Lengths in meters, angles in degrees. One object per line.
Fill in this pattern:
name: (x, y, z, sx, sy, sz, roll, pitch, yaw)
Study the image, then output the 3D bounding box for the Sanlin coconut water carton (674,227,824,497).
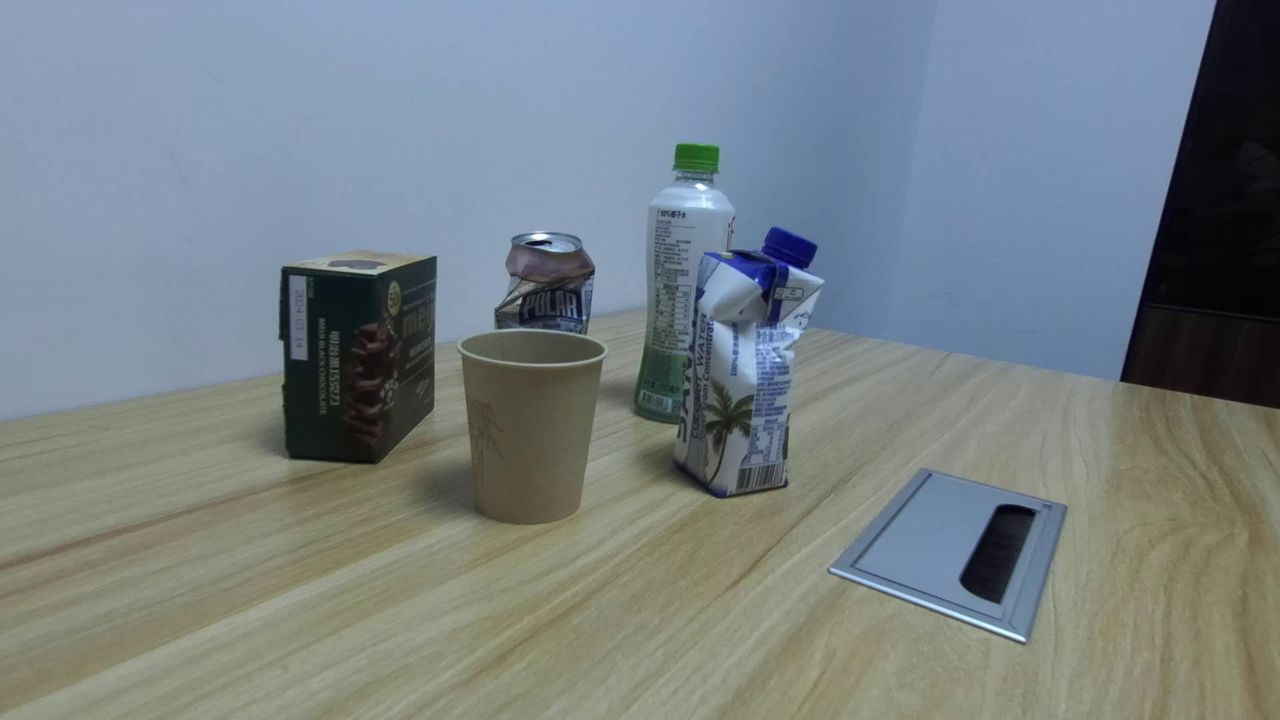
Sanlin coconut water carton: (0.060, -0.001, 0.395, 0.070, 0.143, 0.060, -2, 16, -28)

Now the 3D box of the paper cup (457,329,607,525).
paper cup: (-0.055, 0.033, 0.358, 0.075, 0.082, 0.075, 4, 14, -1)

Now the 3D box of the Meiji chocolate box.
Meiji chocolate box: (-0.168, -0.007, 0.436, 0.056, 0.109, 0.110, 4, 13, 0)

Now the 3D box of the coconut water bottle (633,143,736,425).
coconut water bottle: (0.033, -0.054, 0.505, 0.063, 0.188, 0.063, 4, 14, -1)

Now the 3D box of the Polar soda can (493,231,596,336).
Polar soda can: (-0.077, -0.035, 0.552, 0.066, 0.121, 0.071, 13, 16, 22)
